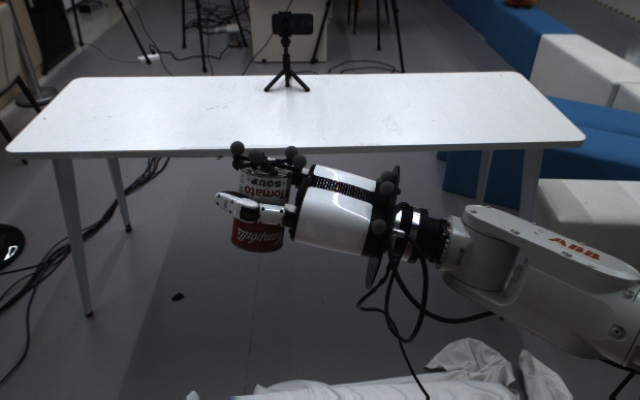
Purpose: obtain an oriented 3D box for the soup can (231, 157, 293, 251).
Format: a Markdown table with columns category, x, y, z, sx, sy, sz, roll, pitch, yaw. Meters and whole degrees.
| category | x | y | z | sx | sy | sz | roll | pitch | yaw |
| --- | --- | --- | --- | --- | --- | --- | --- | --- | --- |
| soup can | -0.072 | 0.007 | 0.608 | 0.067 | 0.101 | 0.067 | 9 | 19 | -3 |
